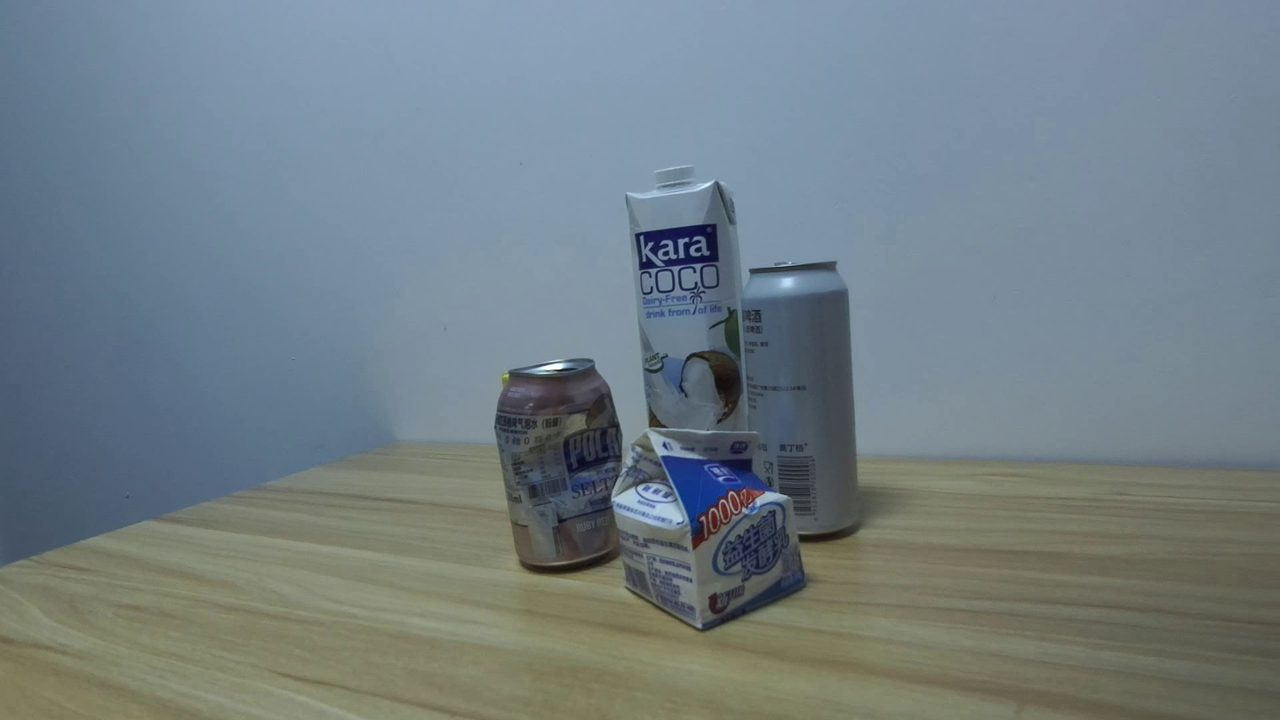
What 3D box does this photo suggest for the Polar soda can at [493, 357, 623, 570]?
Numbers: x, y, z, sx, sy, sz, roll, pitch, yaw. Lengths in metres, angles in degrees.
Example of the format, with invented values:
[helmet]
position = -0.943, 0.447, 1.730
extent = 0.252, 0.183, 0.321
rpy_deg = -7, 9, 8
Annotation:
[Polar soda can]
position = -0.047, 0.064, 0.443
extent = 0.074, 0.121, 0.067
rpy_deg = -5, 7, 4

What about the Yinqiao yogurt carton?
[Yinqiao yogurt carton]
position = 0.033, 0.076, 0.373
extent = 0.083, 0.093, 0.077
rpy_deg = -10, 8, -32

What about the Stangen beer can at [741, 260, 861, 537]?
[Stangen beer can]
position = 0.102, 0.025, 0.454
extent = 0.067, 0.171, 0.067
rpy_deg = -5, 4, 1
